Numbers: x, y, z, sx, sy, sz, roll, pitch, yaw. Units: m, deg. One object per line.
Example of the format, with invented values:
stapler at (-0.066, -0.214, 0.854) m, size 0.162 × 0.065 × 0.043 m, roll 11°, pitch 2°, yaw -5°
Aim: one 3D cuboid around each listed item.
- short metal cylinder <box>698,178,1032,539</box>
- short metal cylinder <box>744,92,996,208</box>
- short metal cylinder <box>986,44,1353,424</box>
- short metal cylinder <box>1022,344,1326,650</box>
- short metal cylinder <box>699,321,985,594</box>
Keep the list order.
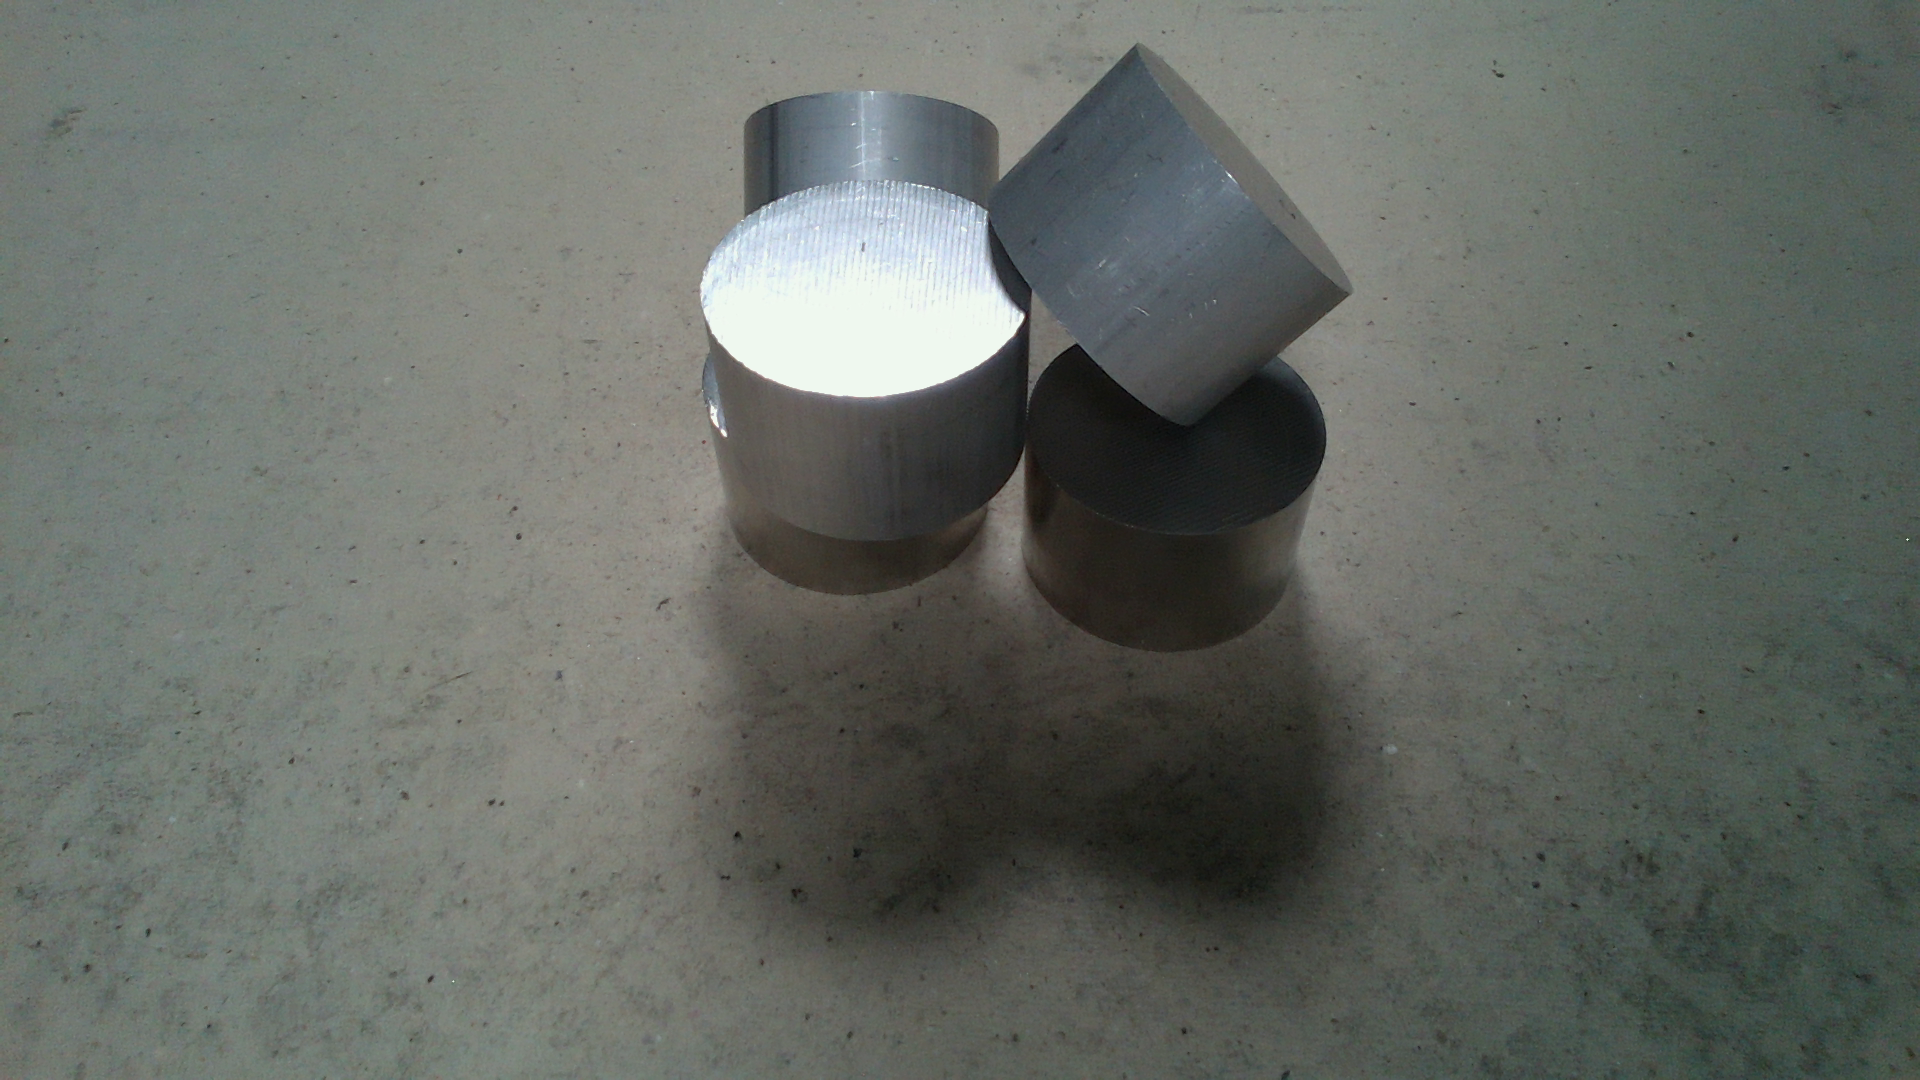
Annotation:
short metal cylinder at (-0.022, -0.047, 0.349) m, size 0.080 × 0.050 × 0.080 m, roll 0°, pitch 50°, yaw 0°
short metal cylinder at (-0.028, -0.103, 0.434) m, size 0.080 × 0.080 × 0.050 m, roll 0°, pitch 89°, yaw 0°
short metal cylinder at (0.053, -0.076, 0.345) m, size 0.050 × 0.080 × 0.080 m, roll -41°, pitch 48°, yaw 23°
short metal cylinder at (0.058, -0.016, 0.388) m, size 0.080 × 0.050 × 0.080 m, roll 0°, pitch 50°, yaw 0°
short metal cylinder at (-0.032, -0.031, 0.402) m, size 0.080 × 0.050 × 0.080 m, roll 0°, pitch 50°, yaw 0°
